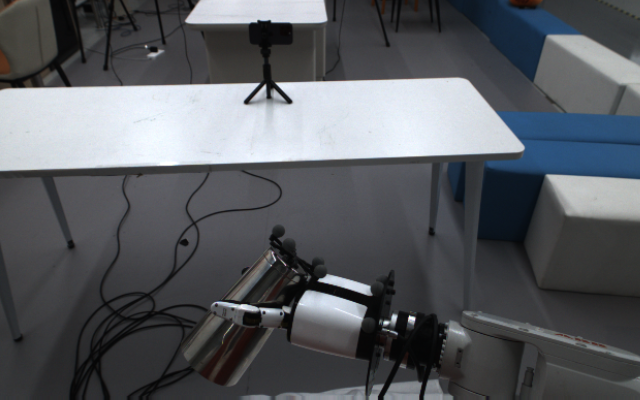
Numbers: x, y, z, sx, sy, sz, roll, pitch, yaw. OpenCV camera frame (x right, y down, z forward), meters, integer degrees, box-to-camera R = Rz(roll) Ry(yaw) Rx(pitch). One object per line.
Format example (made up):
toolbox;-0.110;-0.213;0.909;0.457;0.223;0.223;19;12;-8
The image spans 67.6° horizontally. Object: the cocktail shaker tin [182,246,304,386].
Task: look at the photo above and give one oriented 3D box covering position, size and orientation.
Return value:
cocktail shaker tin;-0.091;0.144;0.637;0.170;0.093;0.093;-50;47;3
